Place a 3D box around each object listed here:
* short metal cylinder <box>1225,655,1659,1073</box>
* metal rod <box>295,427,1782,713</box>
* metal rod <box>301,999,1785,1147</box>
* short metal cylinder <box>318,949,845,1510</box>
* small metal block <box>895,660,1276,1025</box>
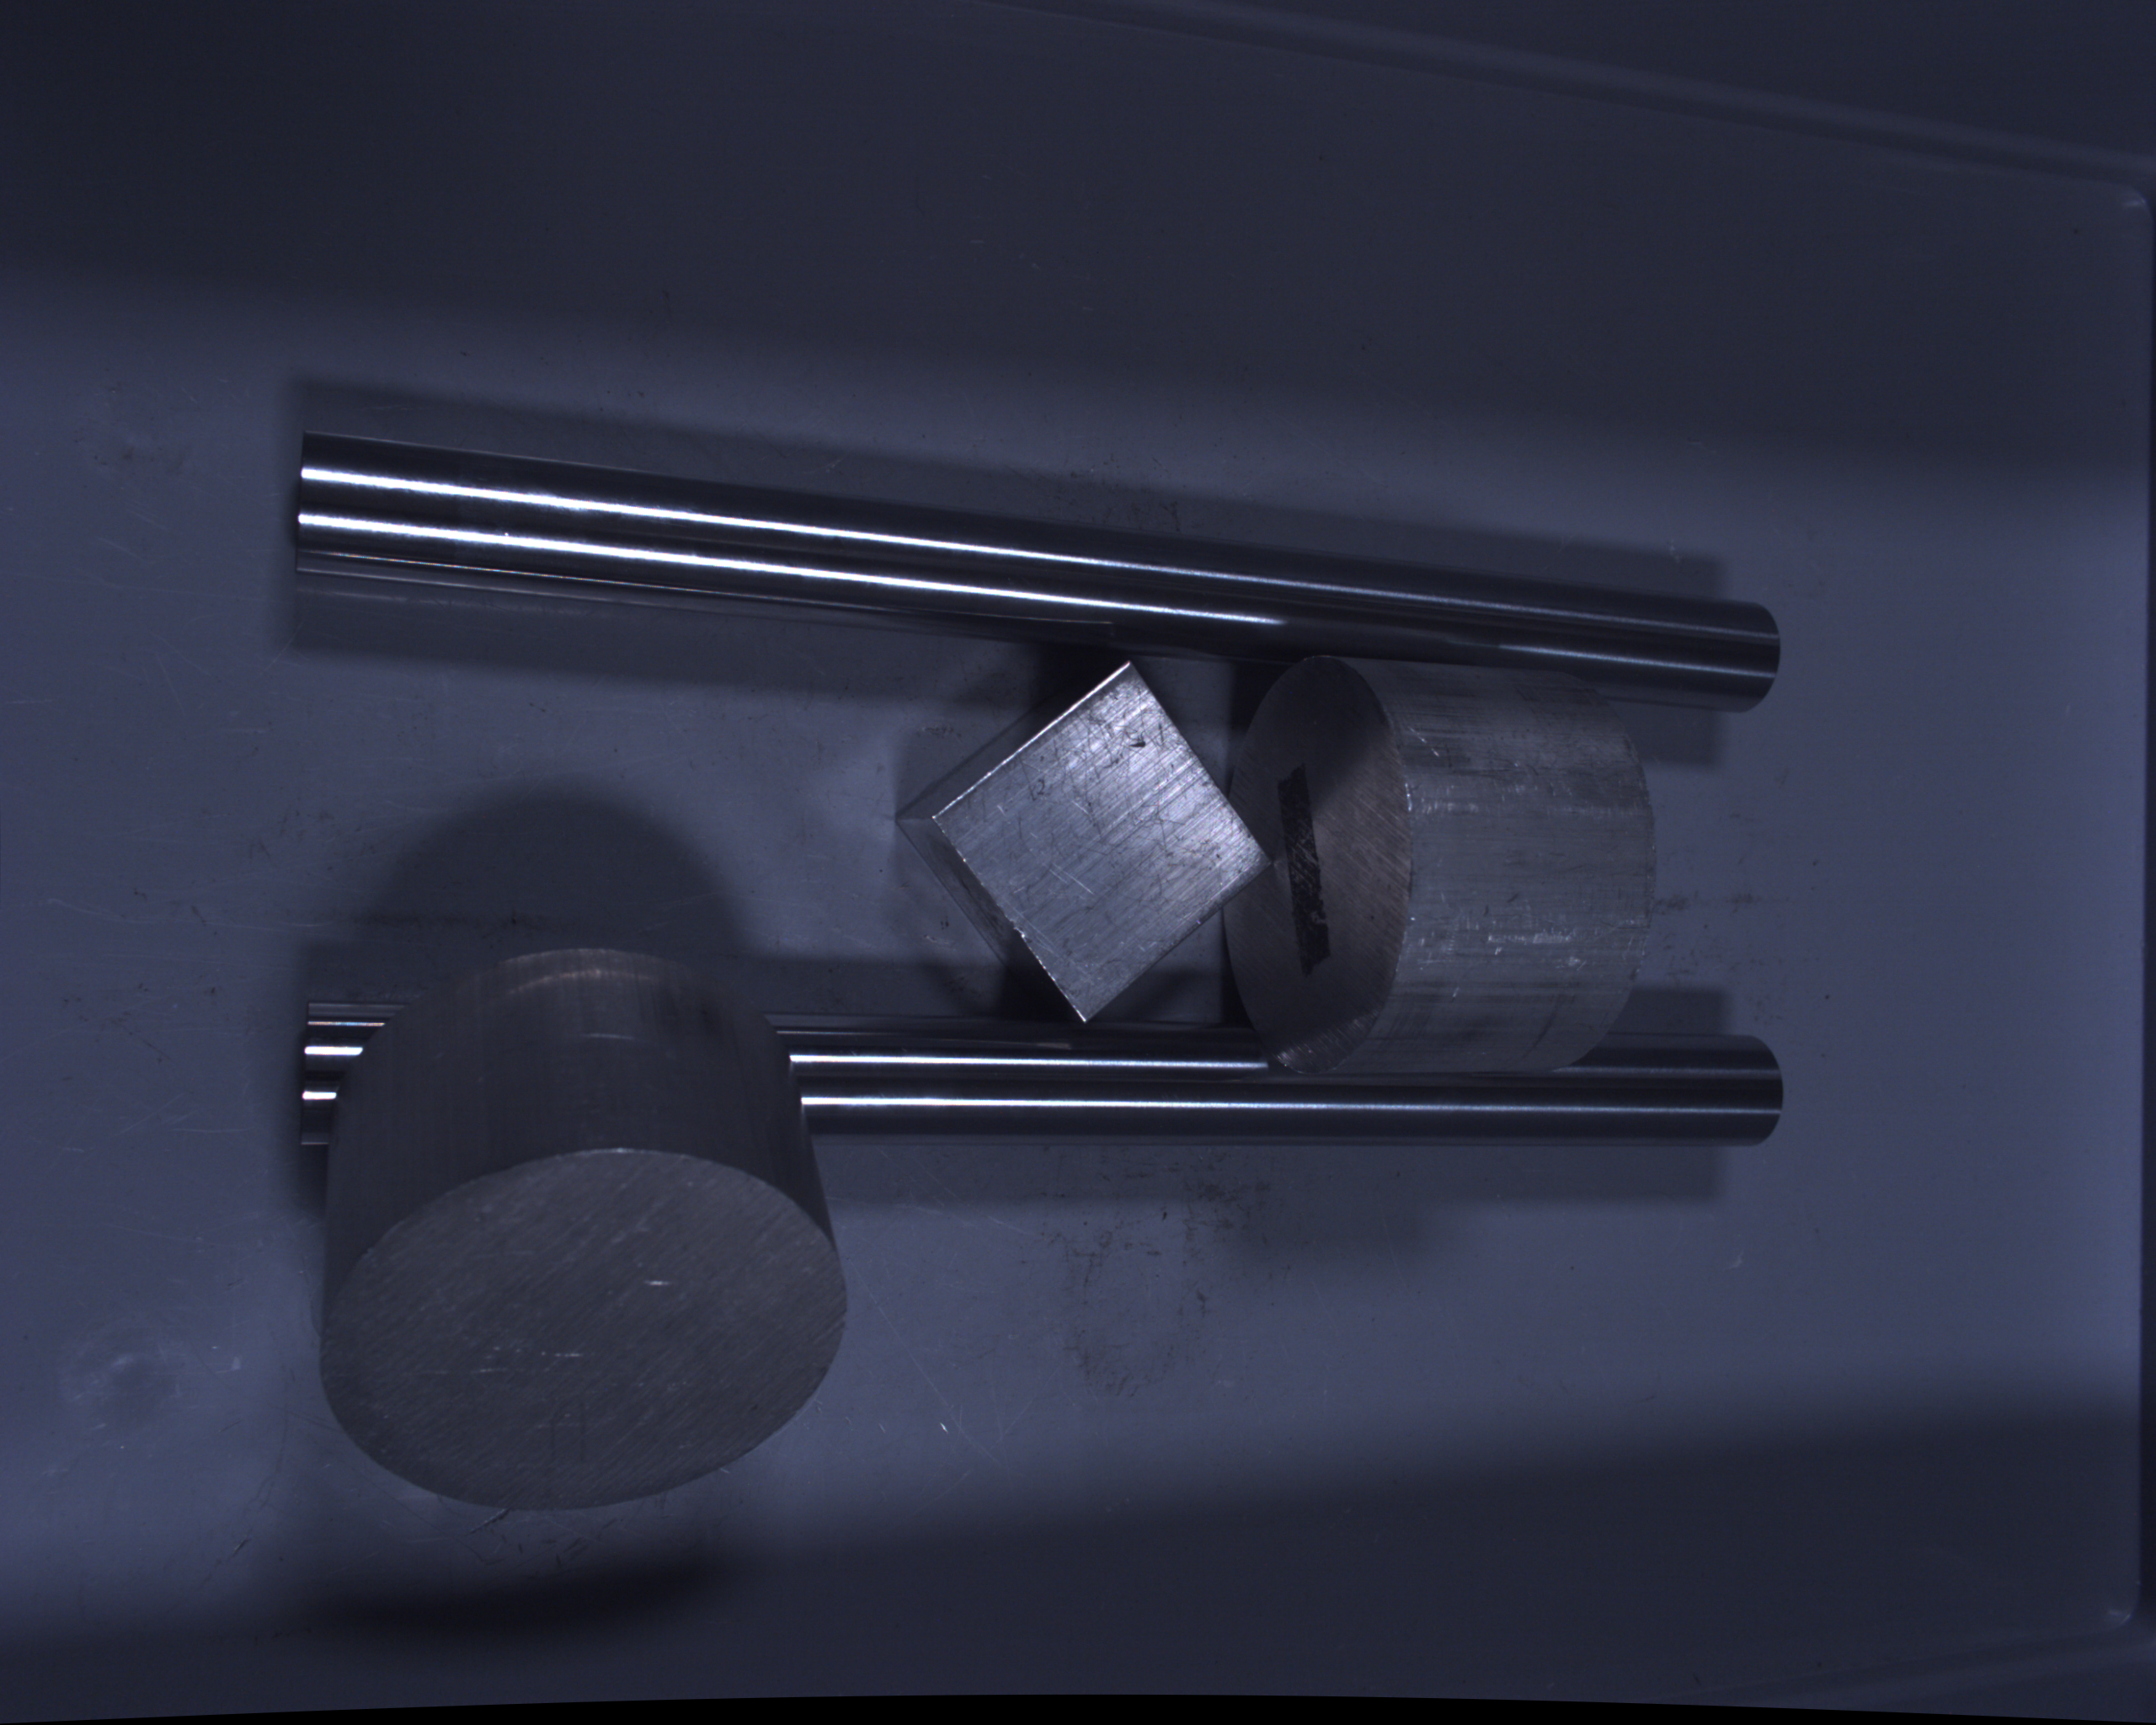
[{"bbox_3d":[0.068,0.001,0.406,0.050,0.080,0.079,2,90,-20],"label":"short metal cylinder"},{"bbox_3d":[0.007,-0.054,0.412,0.302,0.025,0.025,3,89,-21],"label":"metal rod"},{"bbox_3d":[0.008,0.043,0.412,0.303,0.025,0.025,3,89,-21],"label":"metal rod"},{"bbox_3d":[-0.083,0.061,0.347,0.081,0.050,0.079,-9,127,-12],"label":"short metal cylinder"},{"bbox_3d":[0.002,-0.004,0.410,0.050,0.025,0.050,-40,103,-16],"label":"small metal block"}]
